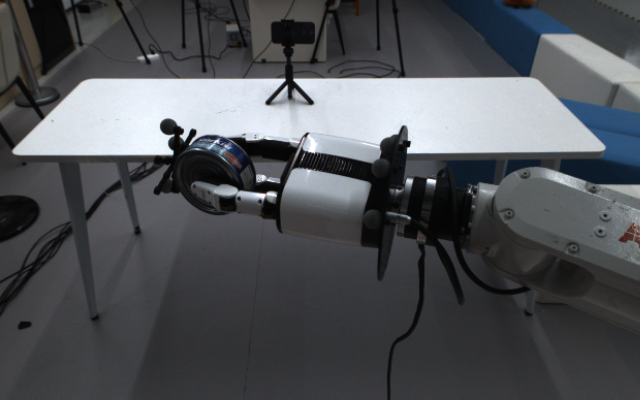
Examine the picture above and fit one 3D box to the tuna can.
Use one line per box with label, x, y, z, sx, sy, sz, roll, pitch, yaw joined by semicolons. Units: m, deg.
tuna can;-0.111;-0.021;0.529;0.085;0.085;0.034;11;35;13
